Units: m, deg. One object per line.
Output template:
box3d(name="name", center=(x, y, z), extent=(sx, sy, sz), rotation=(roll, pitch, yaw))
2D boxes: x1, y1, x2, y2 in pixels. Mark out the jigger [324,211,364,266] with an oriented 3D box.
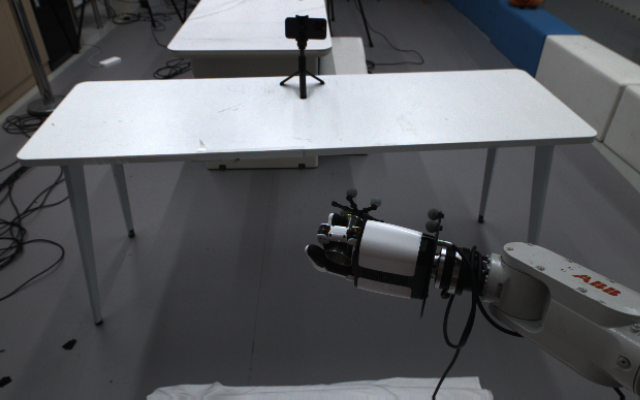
box3d(name="jigger", center=(0.041, 0.058, 0.736), extent=(0.043, 0.043, 0.071), rotation=(15, 58, 18))
